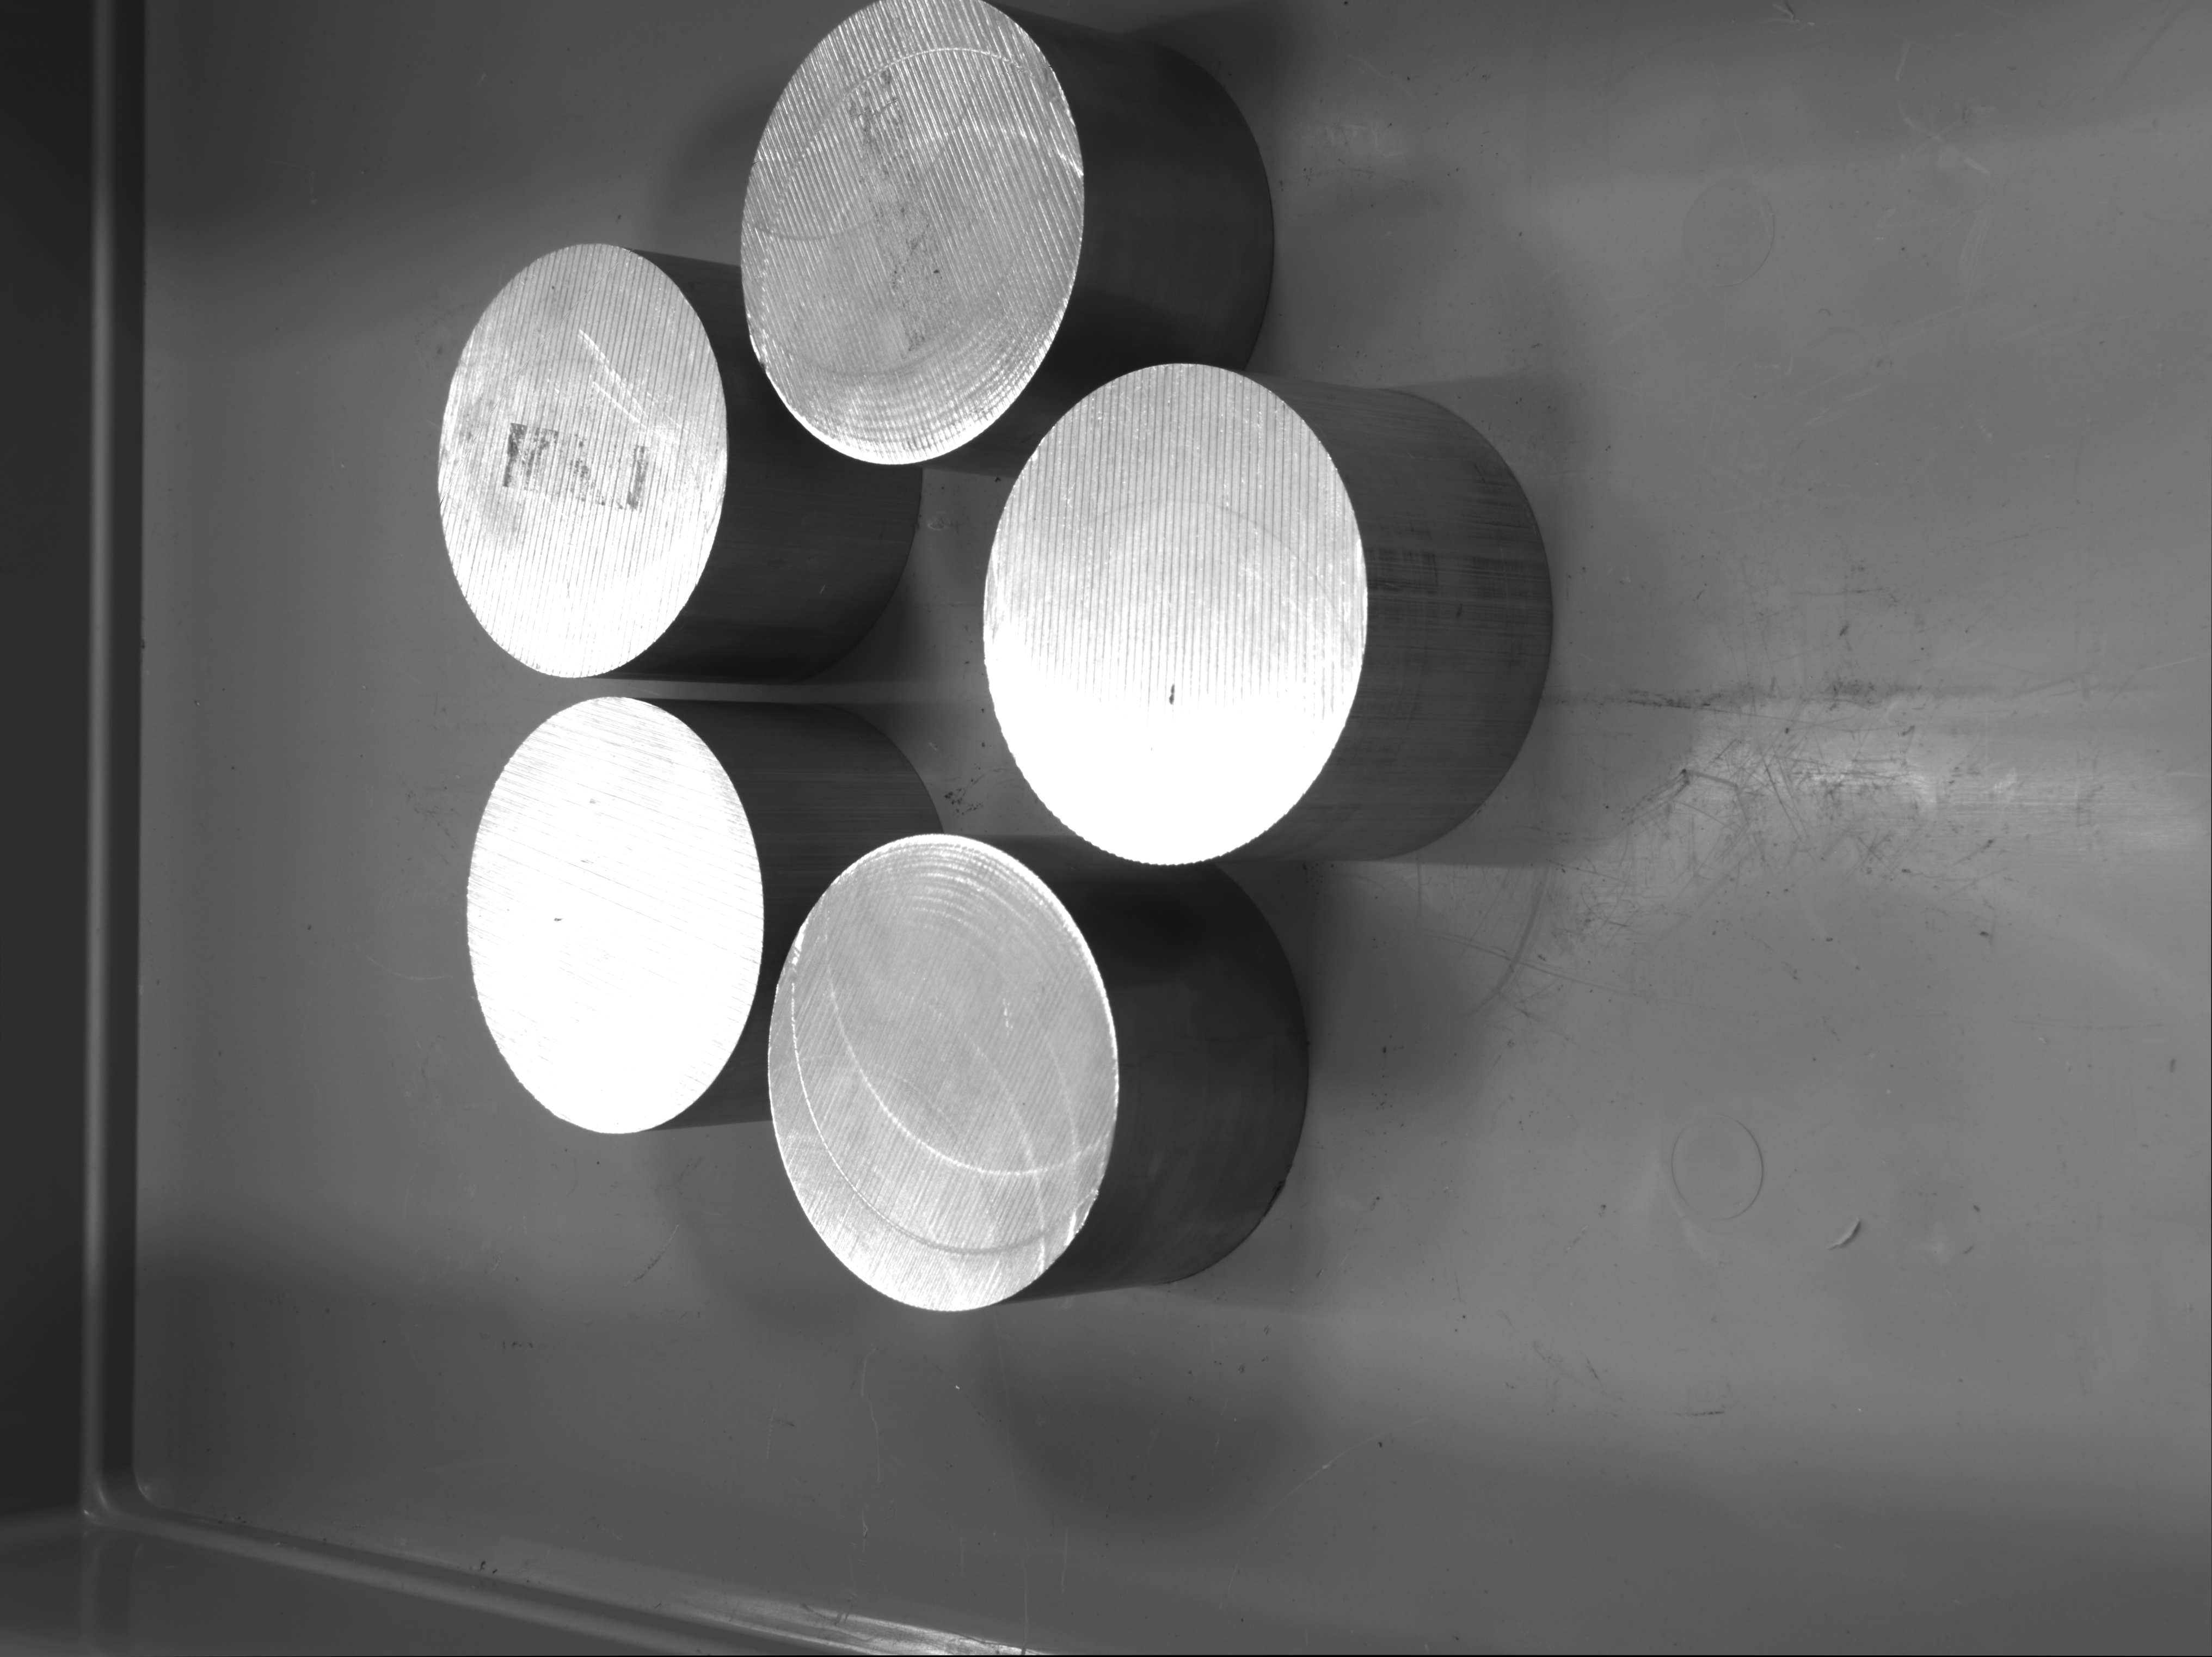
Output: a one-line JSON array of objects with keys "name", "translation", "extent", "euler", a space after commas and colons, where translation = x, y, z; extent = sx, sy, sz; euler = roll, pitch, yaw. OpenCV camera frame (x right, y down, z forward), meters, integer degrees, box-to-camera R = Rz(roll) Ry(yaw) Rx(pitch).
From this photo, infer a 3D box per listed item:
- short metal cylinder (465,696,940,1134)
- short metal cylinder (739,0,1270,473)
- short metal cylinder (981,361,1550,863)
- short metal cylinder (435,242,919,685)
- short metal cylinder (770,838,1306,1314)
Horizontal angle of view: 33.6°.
[{"name": "short metal cylinder", "translation": [-0.075, 0.016, 0.690], "extent": [0.080, 0.050, 0.080], "euler": [0, 90, 40]}, {"name": "short metal cylinder", "translation": [-0.018, -0.102, 0.642], "extent": [0.080, 0.050, 0.080], "euler": [0, 90, 40]}, {"name": "short metal cylinder", "translation": [0.026, -0.034, 0.605], "extent": [0.080, 0.050, 0.080], "euler": [0, 90, 40]}, {"name": "short metal cylinder", "translation": [-0.082, -0.068, 0.696], "extent": [0.080, 0.050, 0.080], "euler": [0, 90, 40]}, {"name": "short metal cylinder", "translation": [-0.012, 0.042, 0.637], "extent": [0.080, 0.050, 0.080], "euler": [0, 90, 40]}]
